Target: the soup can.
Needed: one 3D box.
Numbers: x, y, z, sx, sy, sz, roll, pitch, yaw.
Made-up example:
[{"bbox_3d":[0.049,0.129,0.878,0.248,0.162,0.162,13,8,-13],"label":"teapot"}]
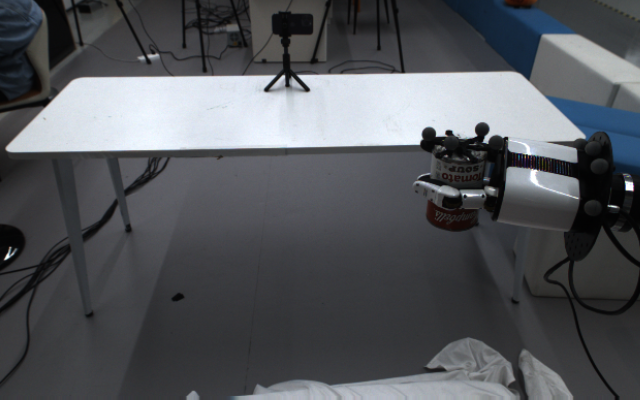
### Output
[{"bbox_3d":[0.177,-0.021,0.625,0.067,0.101,0.067,-2,32,1],"label":"soup can"}]
